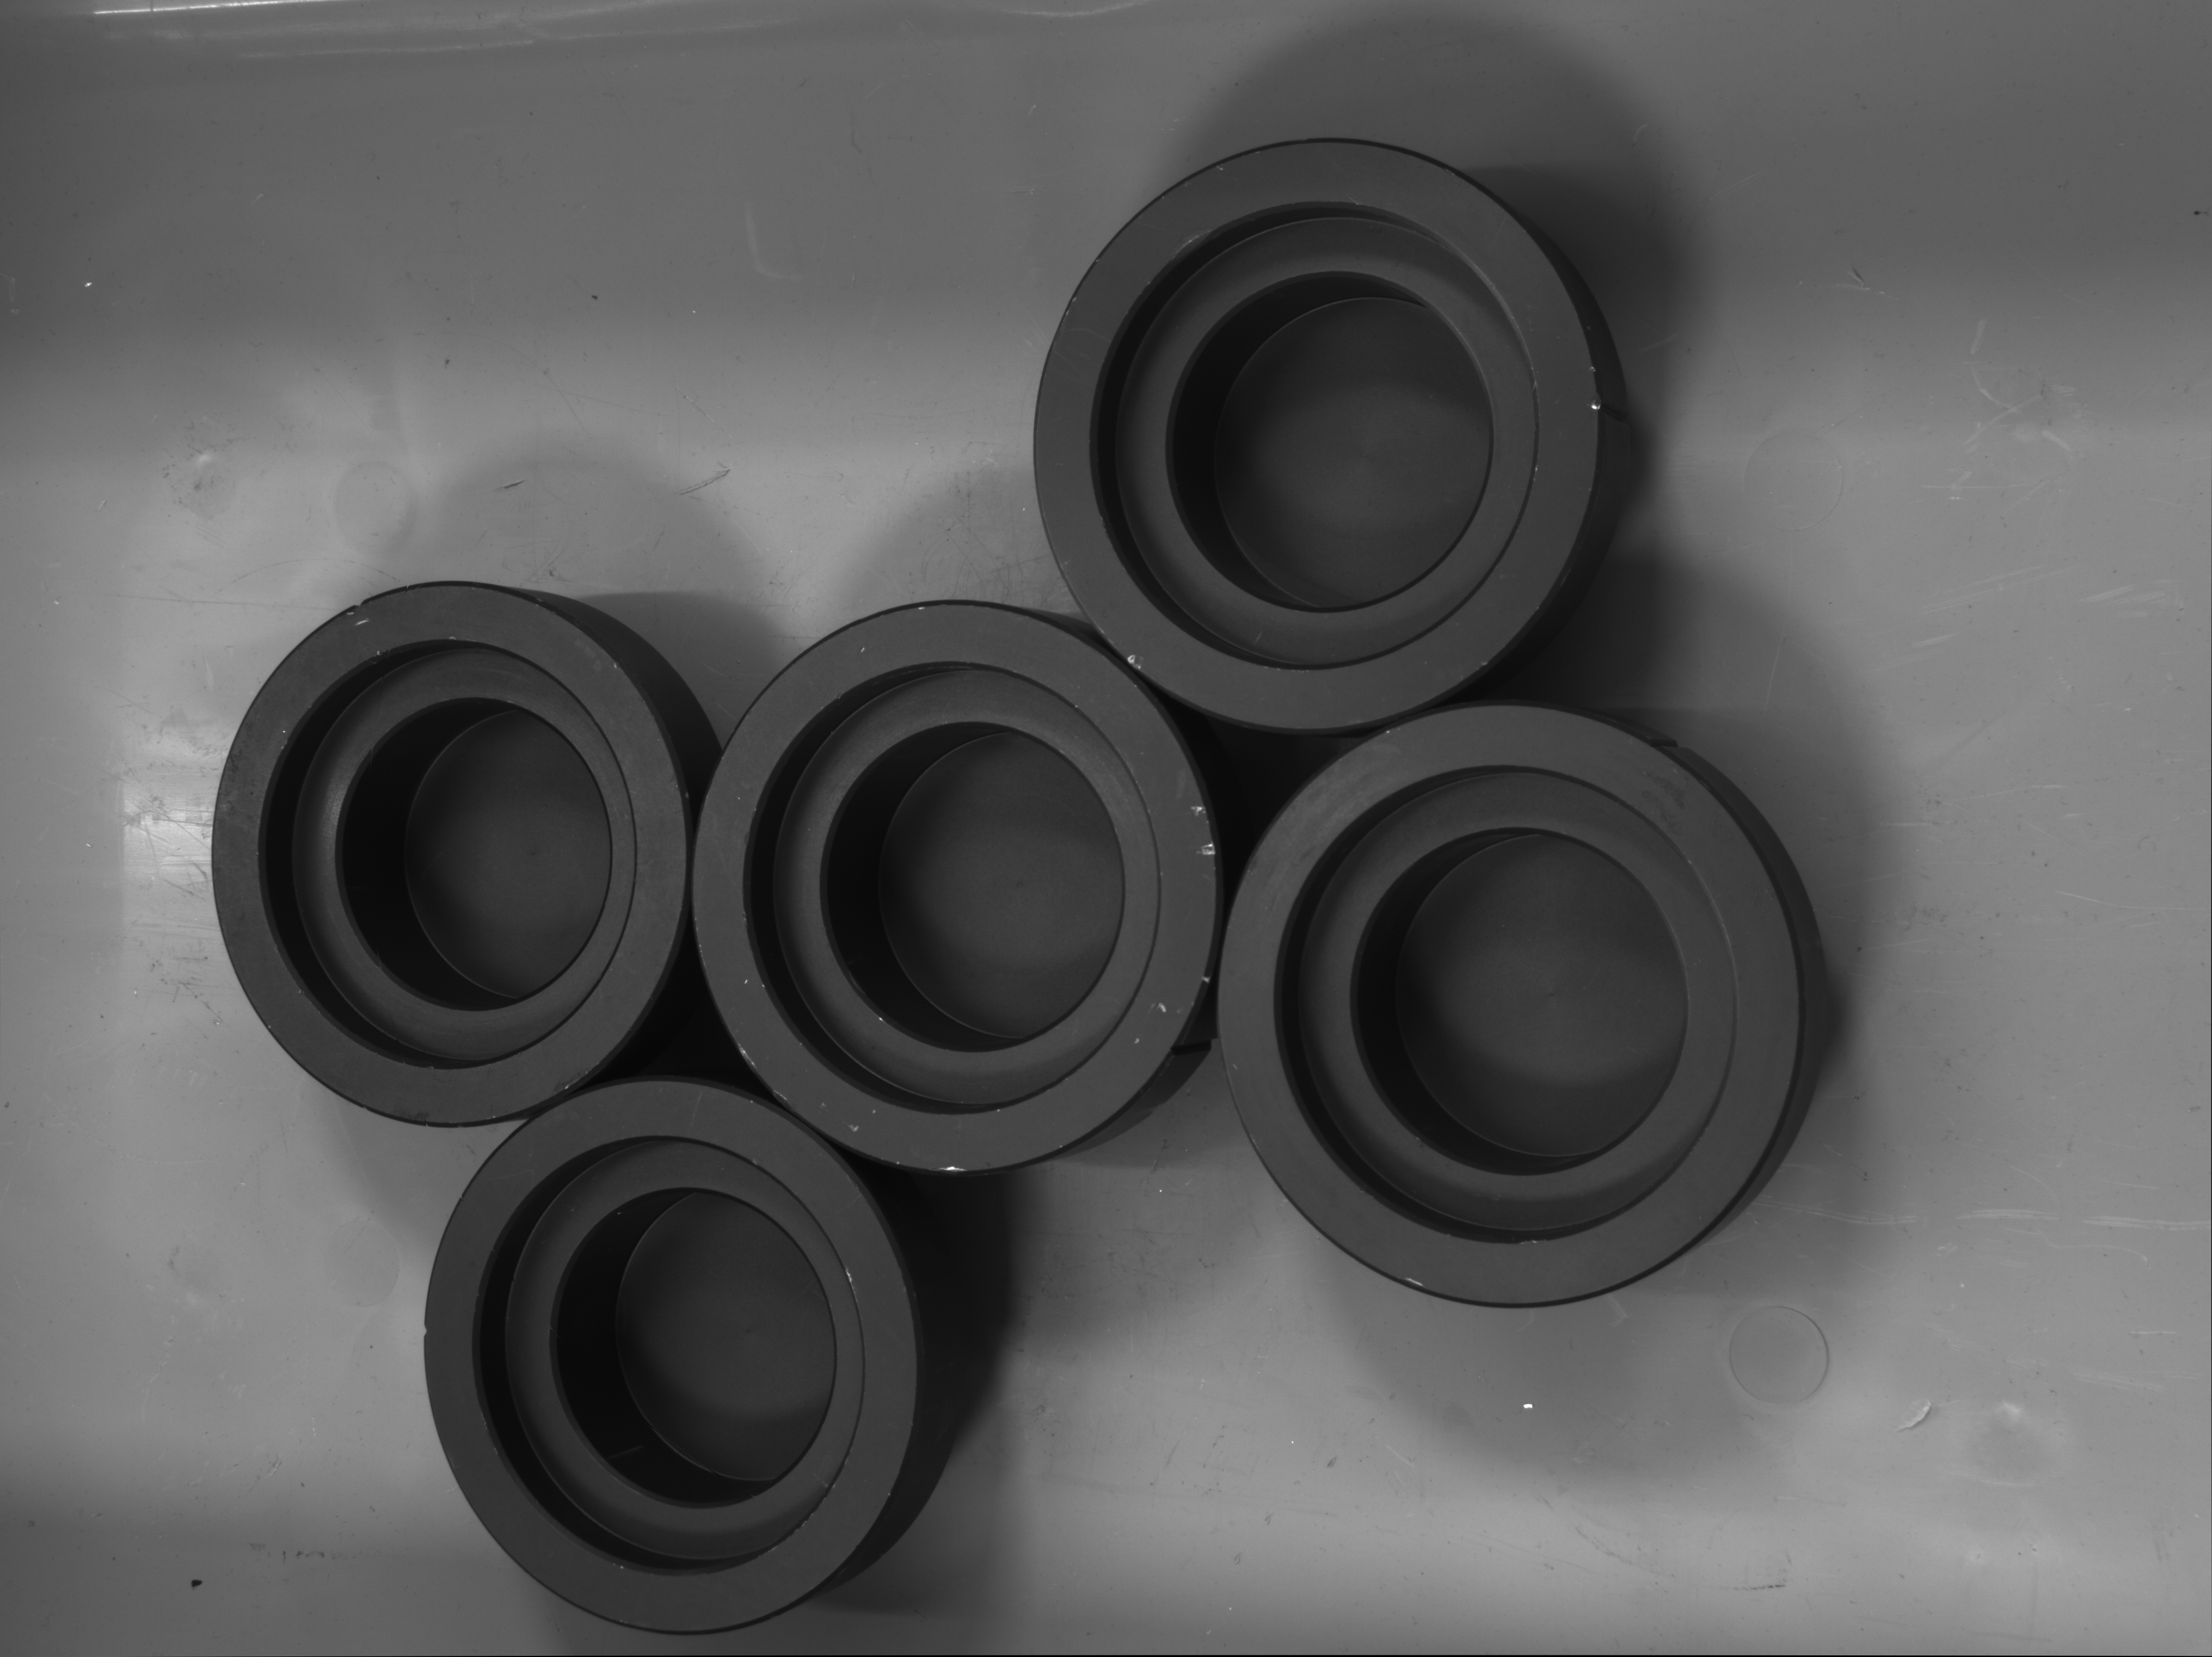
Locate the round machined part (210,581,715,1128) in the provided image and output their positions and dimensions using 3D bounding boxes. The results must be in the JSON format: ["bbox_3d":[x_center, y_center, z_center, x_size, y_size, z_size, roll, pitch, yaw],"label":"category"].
[{"bbox_3d":[-0.112,0.005,0.676,0.098,0.042,0.098,0,90,20],"label":"round machined part"}]

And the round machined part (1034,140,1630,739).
[{"bbox_3d":[0.041,-0.064,0.620,0.098,0.042,0.098,0,90,20],"label":"round machined part"}]

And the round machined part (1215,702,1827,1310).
[{"bbox_3d":[0.071,0.029,0.609,0.098,0.042,0.098,0,90,20],"label":"round machined part"}]

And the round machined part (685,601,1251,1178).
[{"bbox_3d":[-0.021,0.010,0.641,0.098,0.042,0.098,0,90,20],"label":"round machined part"}]

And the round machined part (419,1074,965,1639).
[{"bbox_3d":[-0.070,0.092,0.660,0.098,0.042,0.098,0,90,20],"label":"round machined part"}]
